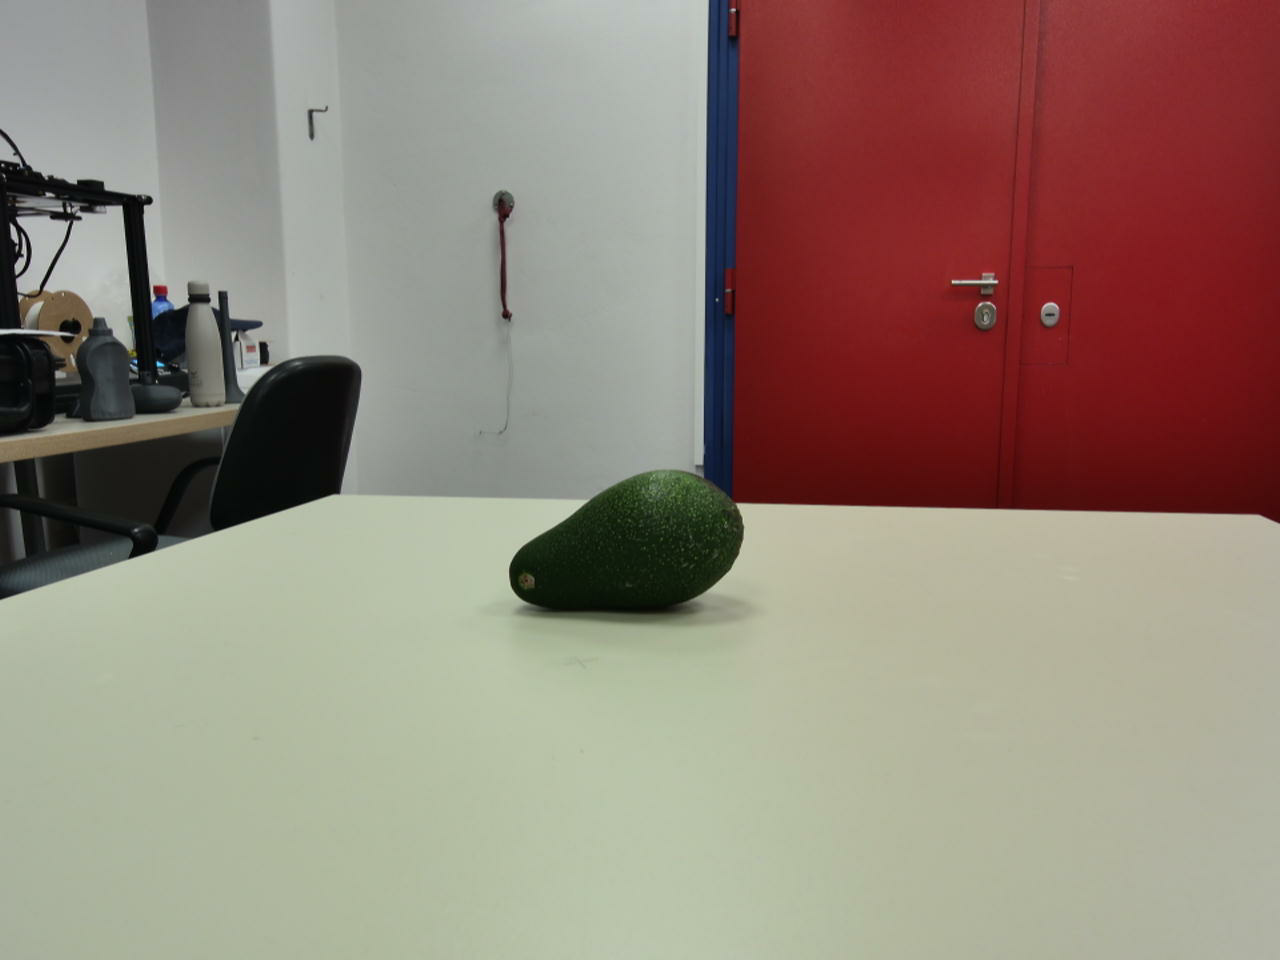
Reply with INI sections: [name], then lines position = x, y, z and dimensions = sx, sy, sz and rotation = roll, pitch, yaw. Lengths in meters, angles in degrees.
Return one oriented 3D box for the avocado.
[avocado]
position = -0.004, 0.031, 0.547
dimensions = 0.123, 0.076, 0.074
rotation = 2, 6, 18
